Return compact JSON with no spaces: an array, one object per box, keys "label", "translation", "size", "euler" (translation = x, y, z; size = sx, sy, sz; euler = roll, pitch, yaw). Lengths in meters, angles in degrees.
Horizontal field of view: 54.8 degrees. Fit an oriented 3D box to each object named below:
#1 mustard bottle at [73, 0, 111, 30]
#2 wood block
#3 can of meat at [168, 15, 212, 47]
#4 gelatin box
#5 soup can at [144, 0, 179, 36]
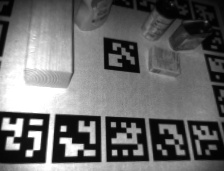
[{"label":"mustard bottle","translation":[-0.037,-0.218,0.527],"size":[0.097,0.191,0.058],"euler":[-21,74,-26]},{"label":"wood block","translation":[-0.141,-0.111,0.499],"size":[0.092,0.089,0.205],"euler":[7,62,-17]},{"label":"can of meat","translation":[0.231,-0.160,0.649],"size":[0.103,0.083,0.057],"euler":[-8,71,-23]},{"label":"gelatin box","translation":[0.153,-0.072,0.610],"size":[0.090,0.030,0.073],"euler":[14,66,-10]},{"label":"soup can","translation":[0.141,-0.196,0.613],"size":[0.068,0.101,0.067],"euler":[6,67,-14]}]
